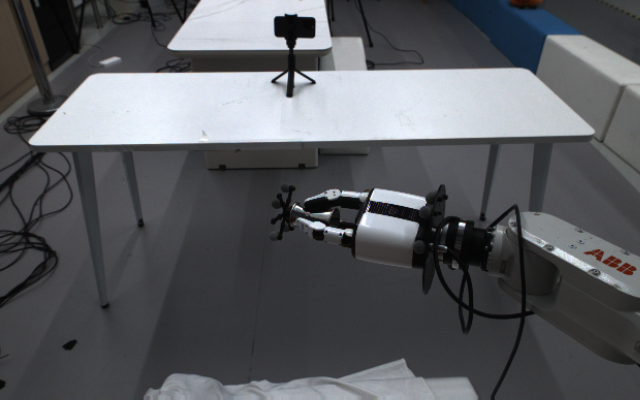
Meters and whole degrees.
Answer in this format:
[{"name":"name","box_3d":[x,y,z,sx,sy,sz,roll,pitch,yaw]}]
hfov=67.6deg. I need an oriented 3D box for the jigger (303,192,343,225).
[{"name":"jigger","box_3d":[-0.002,0.026,0.753,0.071,0.043,0.043,10,35,22]}]
